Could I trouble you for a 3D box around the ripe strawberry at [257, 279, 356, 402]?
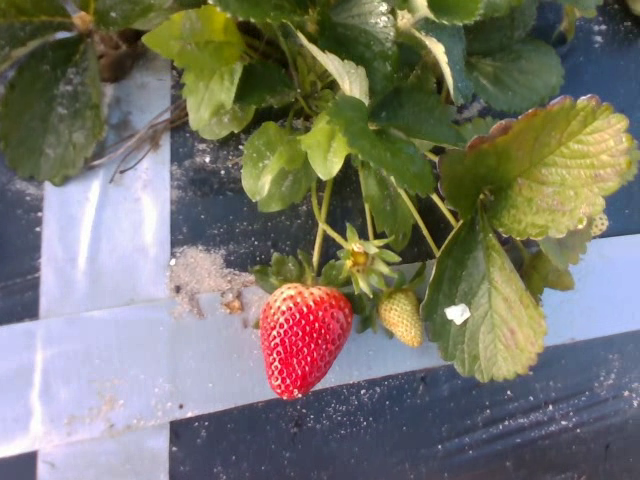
[{"bbox_3d":[-0.003,0.021,0.116,0.023,0.026,0.021,6,-31,11],"label":"ripe strawberry"}]
